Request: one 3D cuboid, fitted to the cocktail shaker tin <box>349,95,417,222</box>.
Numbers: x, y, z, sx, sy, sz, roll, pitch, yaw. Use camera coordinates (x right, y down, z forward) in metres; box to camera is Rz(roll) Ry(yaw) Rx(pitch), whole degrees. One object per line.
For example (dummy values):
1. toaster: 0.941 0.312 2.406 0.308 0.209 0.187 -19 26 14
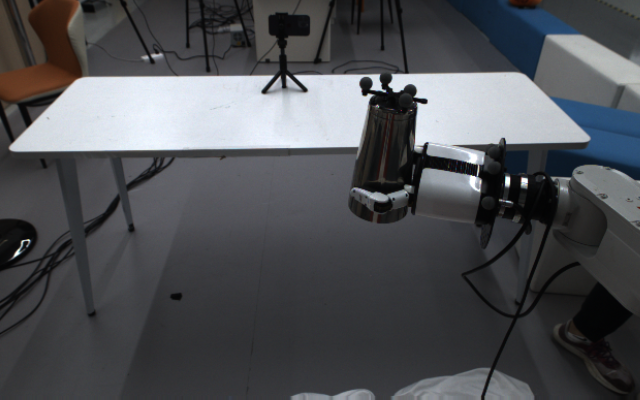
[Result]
1. cocktail shaker tin: 0.095 -0.062 0.697 0.093 0.170 0.093 3 34 -2
